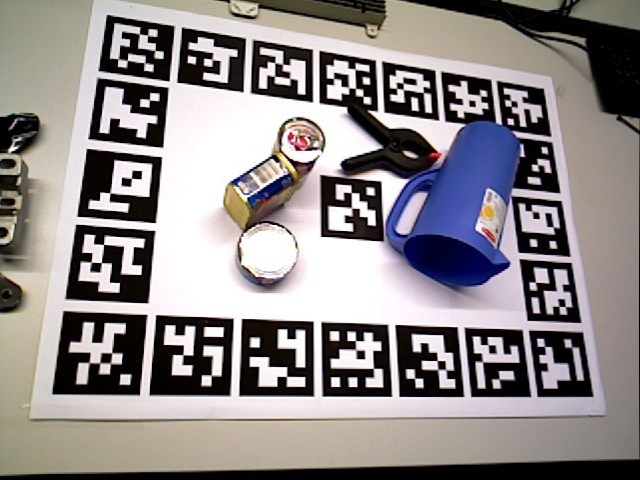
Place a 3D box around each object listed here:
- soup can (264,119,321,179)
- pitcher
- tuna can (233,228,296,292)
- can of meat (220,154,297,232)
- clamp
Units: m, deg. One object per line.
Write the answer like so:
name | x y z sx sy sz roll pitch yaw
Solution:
soup can | -0.043 -0.121 0.781 0.067 0.104 0.067 3 73 -12
pitcher | 0.220 -0.055 0.810 0.189 0.135 0.238 16 60 14
tuna can | -0.078 0.029 0.759 0.085 0.034 0.085 4 74 -14
can of meat | -0.086 -0.061 0.745 0.082 0.103 0.058 -33 84 -19
clamp | 0.095 -0.149 0.873 0.163 0.037 0.120 8 67 -17
